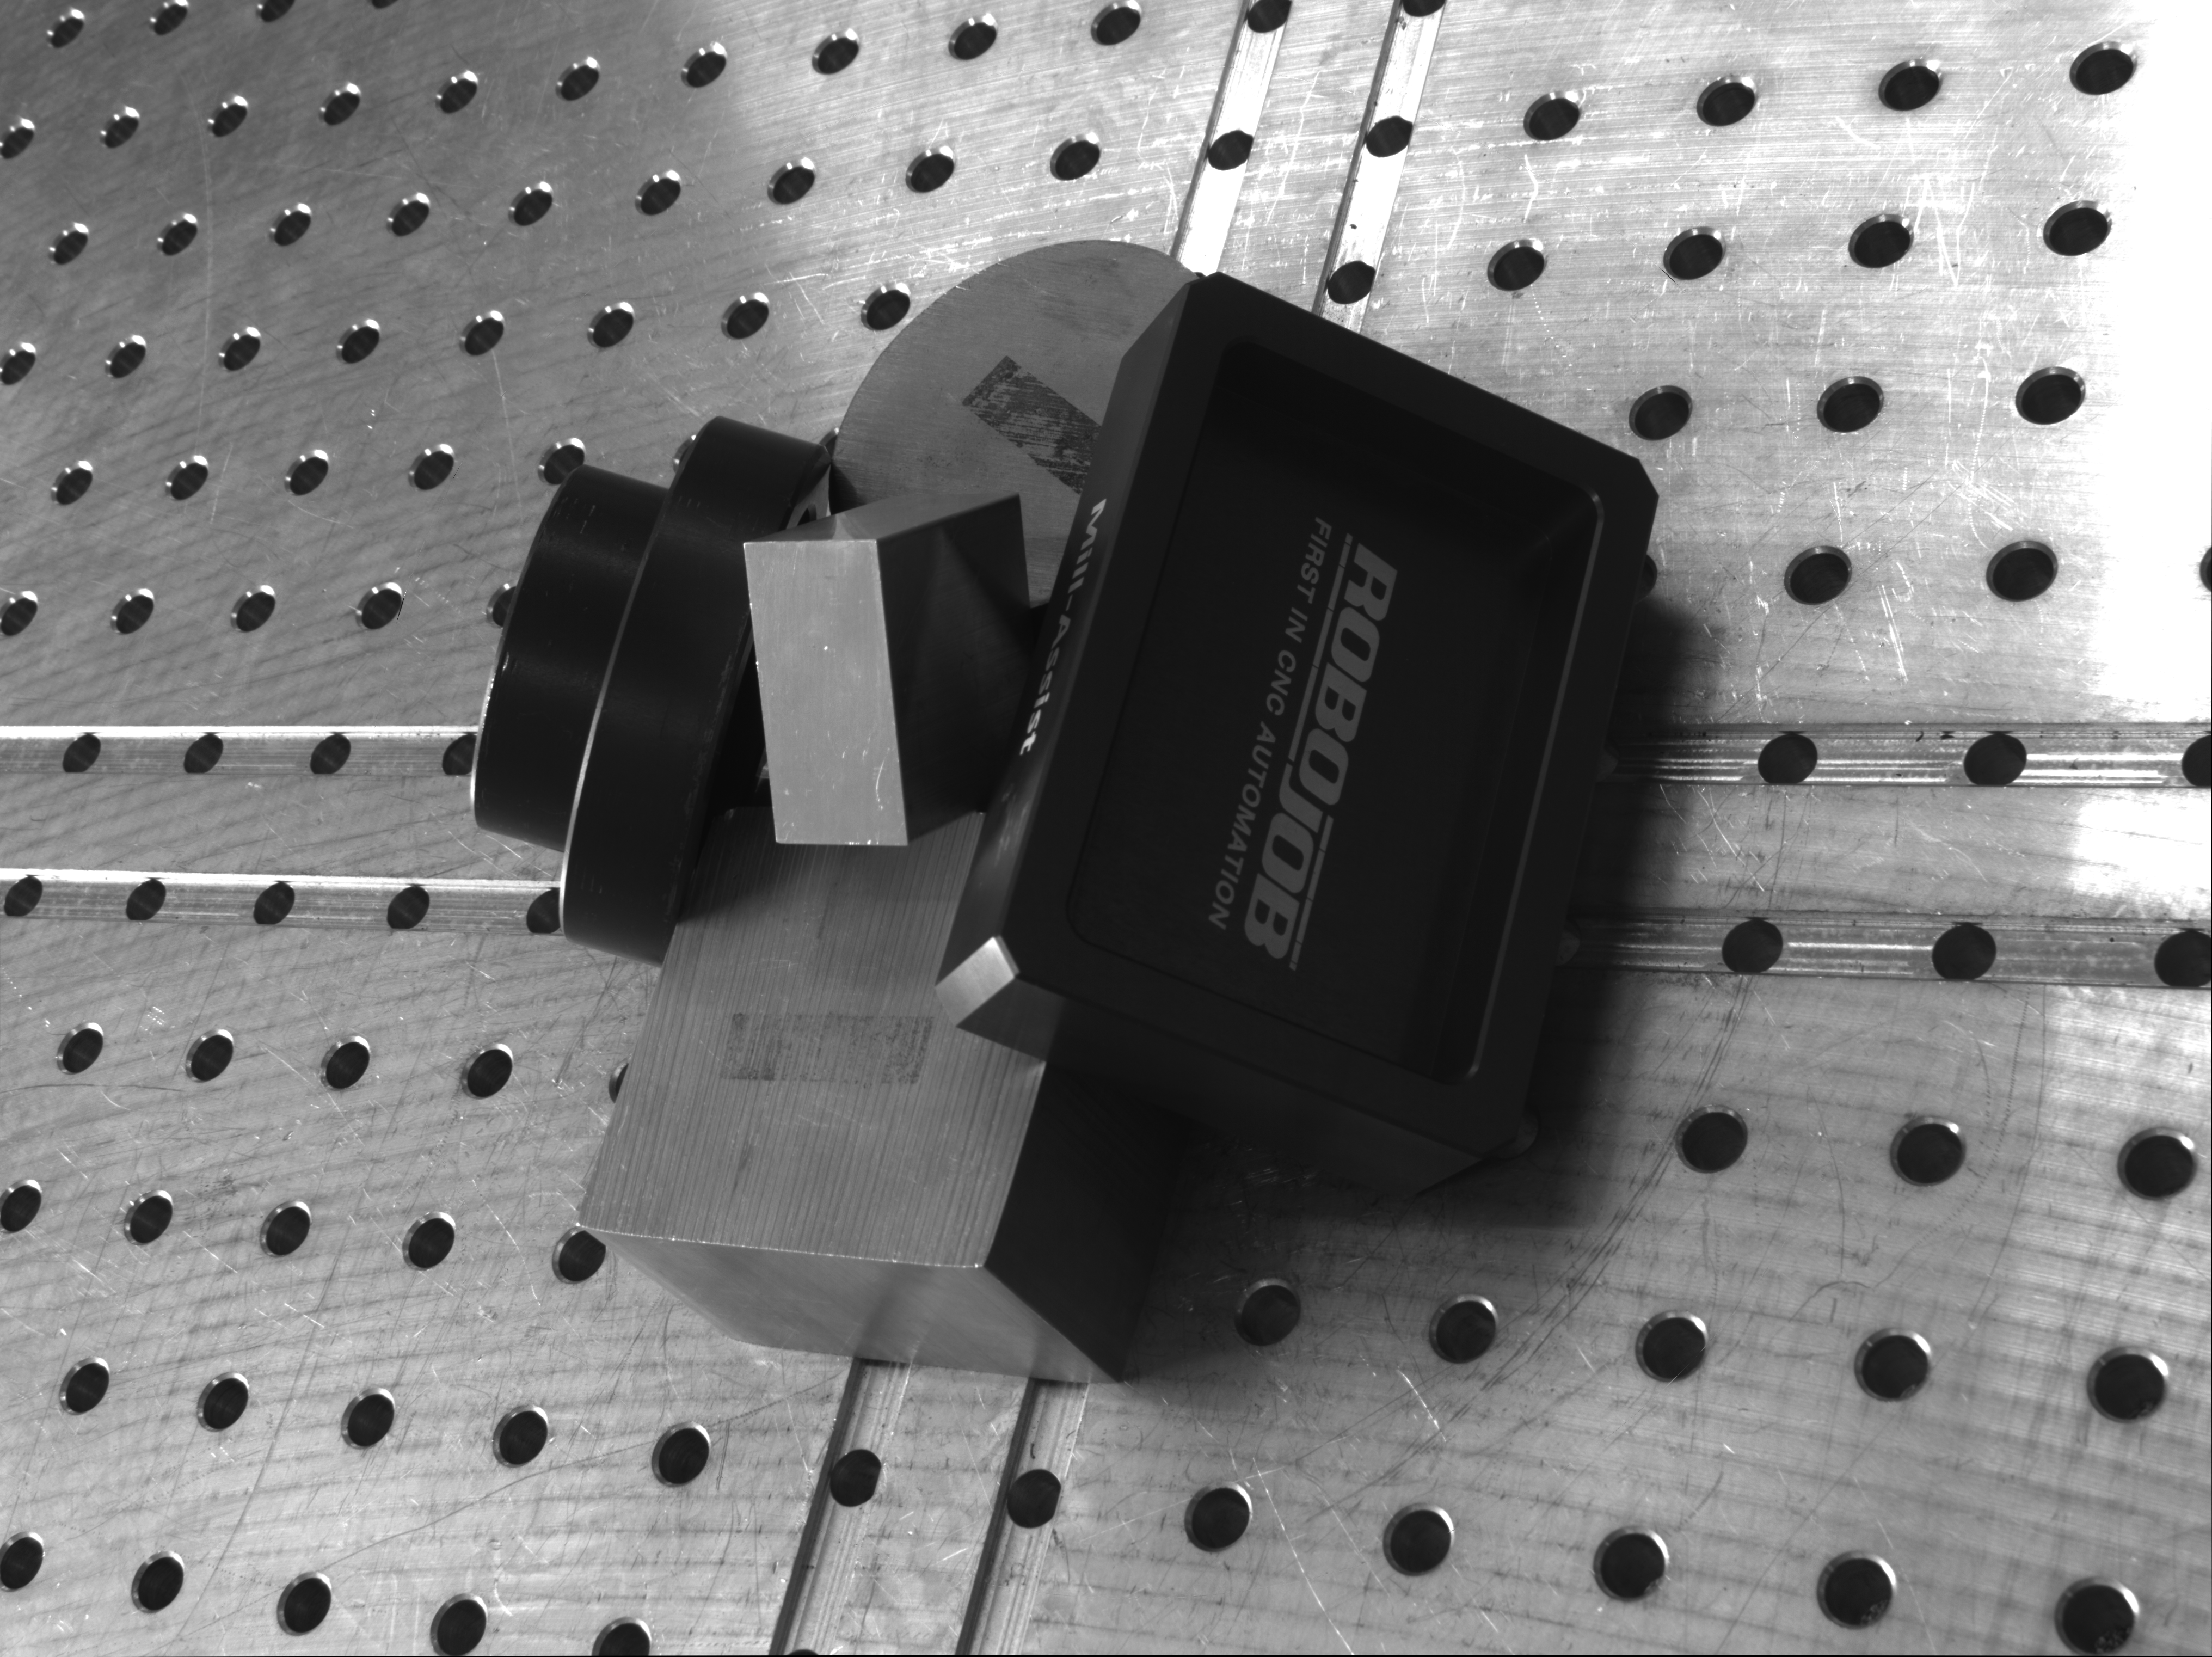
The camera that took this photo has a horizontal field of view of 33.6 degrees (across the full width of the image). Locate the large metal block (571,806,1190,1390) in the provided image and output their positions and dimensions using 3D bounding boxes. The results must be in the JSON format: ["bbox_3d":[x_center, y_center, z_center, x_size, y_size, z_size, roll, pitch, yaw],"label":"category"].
[{"bbox_3d":[-0.033,0.044,0.621,0.080,0.050,0.080,2,62,29],"label":"large metal block"}]

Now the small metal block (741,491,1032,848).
[{"bbox_3d":[-0.035,-0.027,0.613,0.025,0.050,0.050,1,104,26],"label":"small metal block"}]

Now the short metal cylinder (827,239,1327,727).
[{"bbox_3d":[-0.004,-0.060,0.670,0.080,0.050,0.080,-14,56,21],"label":"short metal cylinder"}]

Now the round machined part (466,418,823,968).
[{"bbox_3d":[-0.084,-0.027,0.657,0.042,0.098,0.098,16,66,-1],"label":"round machined part"}]

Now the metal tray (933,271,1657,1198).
[{"bbox_3d":[0.033,-0.016,0.599,0.030,0.090,0.130,139,150,-62],"label":"metal tray"}]
